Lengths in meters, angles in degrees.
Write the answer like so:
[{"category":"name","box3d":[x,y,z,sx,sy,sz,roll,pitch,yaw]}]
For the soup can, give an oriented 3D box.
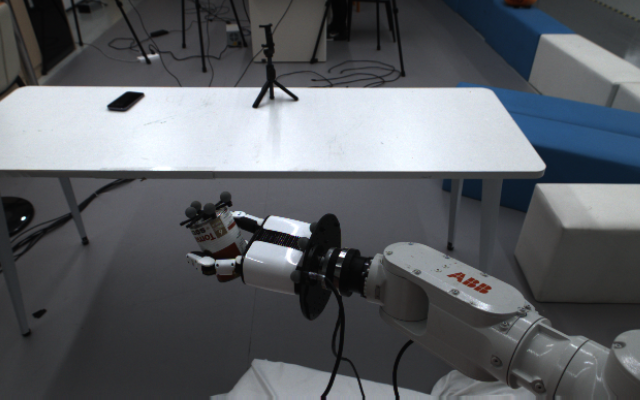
[{"category":"soup can","box3d":[-0.151,0.070,0.760,0.067,0.101,0.067,-24,16,7]}]
